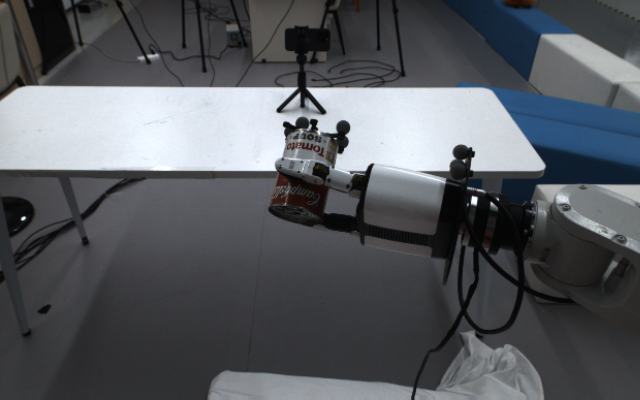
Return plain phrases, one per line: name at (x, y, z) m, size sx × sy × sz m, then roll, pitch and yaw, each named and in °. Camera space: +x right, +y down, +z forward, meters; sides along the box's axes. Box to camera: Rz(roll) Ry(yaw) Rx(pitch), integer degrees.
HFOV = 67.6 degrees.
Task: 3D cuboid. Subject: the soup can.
soup can at (-0.018, -0.029, 0.595) m, size 0.067 × 0.067 × 0.101 m, roll 9°, pitch 72°, yaw 10°
